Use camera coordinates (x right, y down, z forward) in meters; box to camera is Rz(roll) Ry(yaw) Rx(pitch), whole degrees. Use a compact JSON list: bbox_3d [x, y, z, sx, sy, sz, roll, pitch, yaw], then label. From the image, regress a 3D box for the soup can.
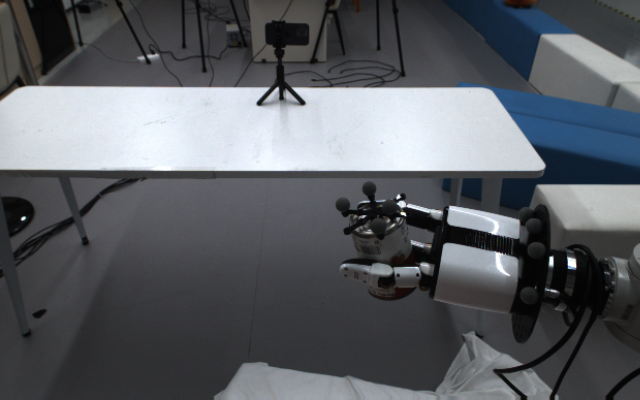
[{"bbox_3d":[0.081,0.061,0.585,0.067,0.101,0.067,-13,31,8],"label":"soup can"}]
